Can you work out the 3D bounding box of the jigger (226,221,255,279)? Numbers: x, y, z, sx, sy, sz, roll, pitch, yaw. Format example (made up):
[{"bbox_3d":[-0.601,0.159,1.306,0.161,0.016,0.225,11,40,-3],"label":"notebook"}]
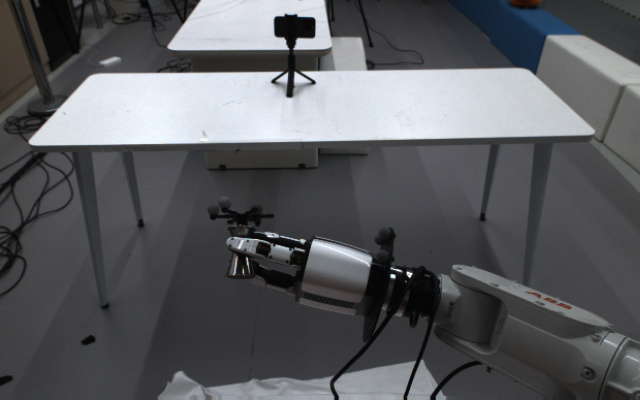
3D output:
[{"bbox_3d":[-0.107,0.071,0.661,0.043,0.043,0.071,0,75,-3],"label":"jigger"}]
